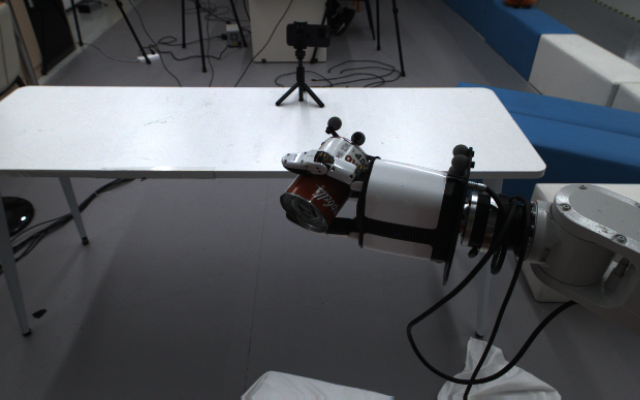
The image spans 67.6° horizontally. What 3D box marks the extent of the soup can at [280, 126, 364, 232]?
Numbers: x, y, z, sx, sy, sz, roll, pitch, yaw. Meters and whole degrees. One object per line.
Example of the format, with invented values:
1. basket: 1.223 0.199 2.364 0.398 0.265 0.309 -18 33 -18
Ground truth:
1. soup can: 0.009 -0.020 0.585 0.067 0.067 0.101 22 60 26
